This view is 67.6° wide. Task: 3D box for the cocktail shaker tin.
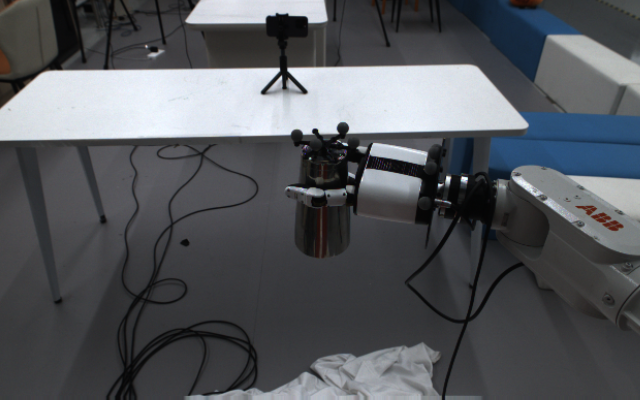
[{"bbox_3d":[0.009,-0.008,0.739,0.093,0.170,0.093,1,39,-1],"label":"cocktail shaker tin"}]
